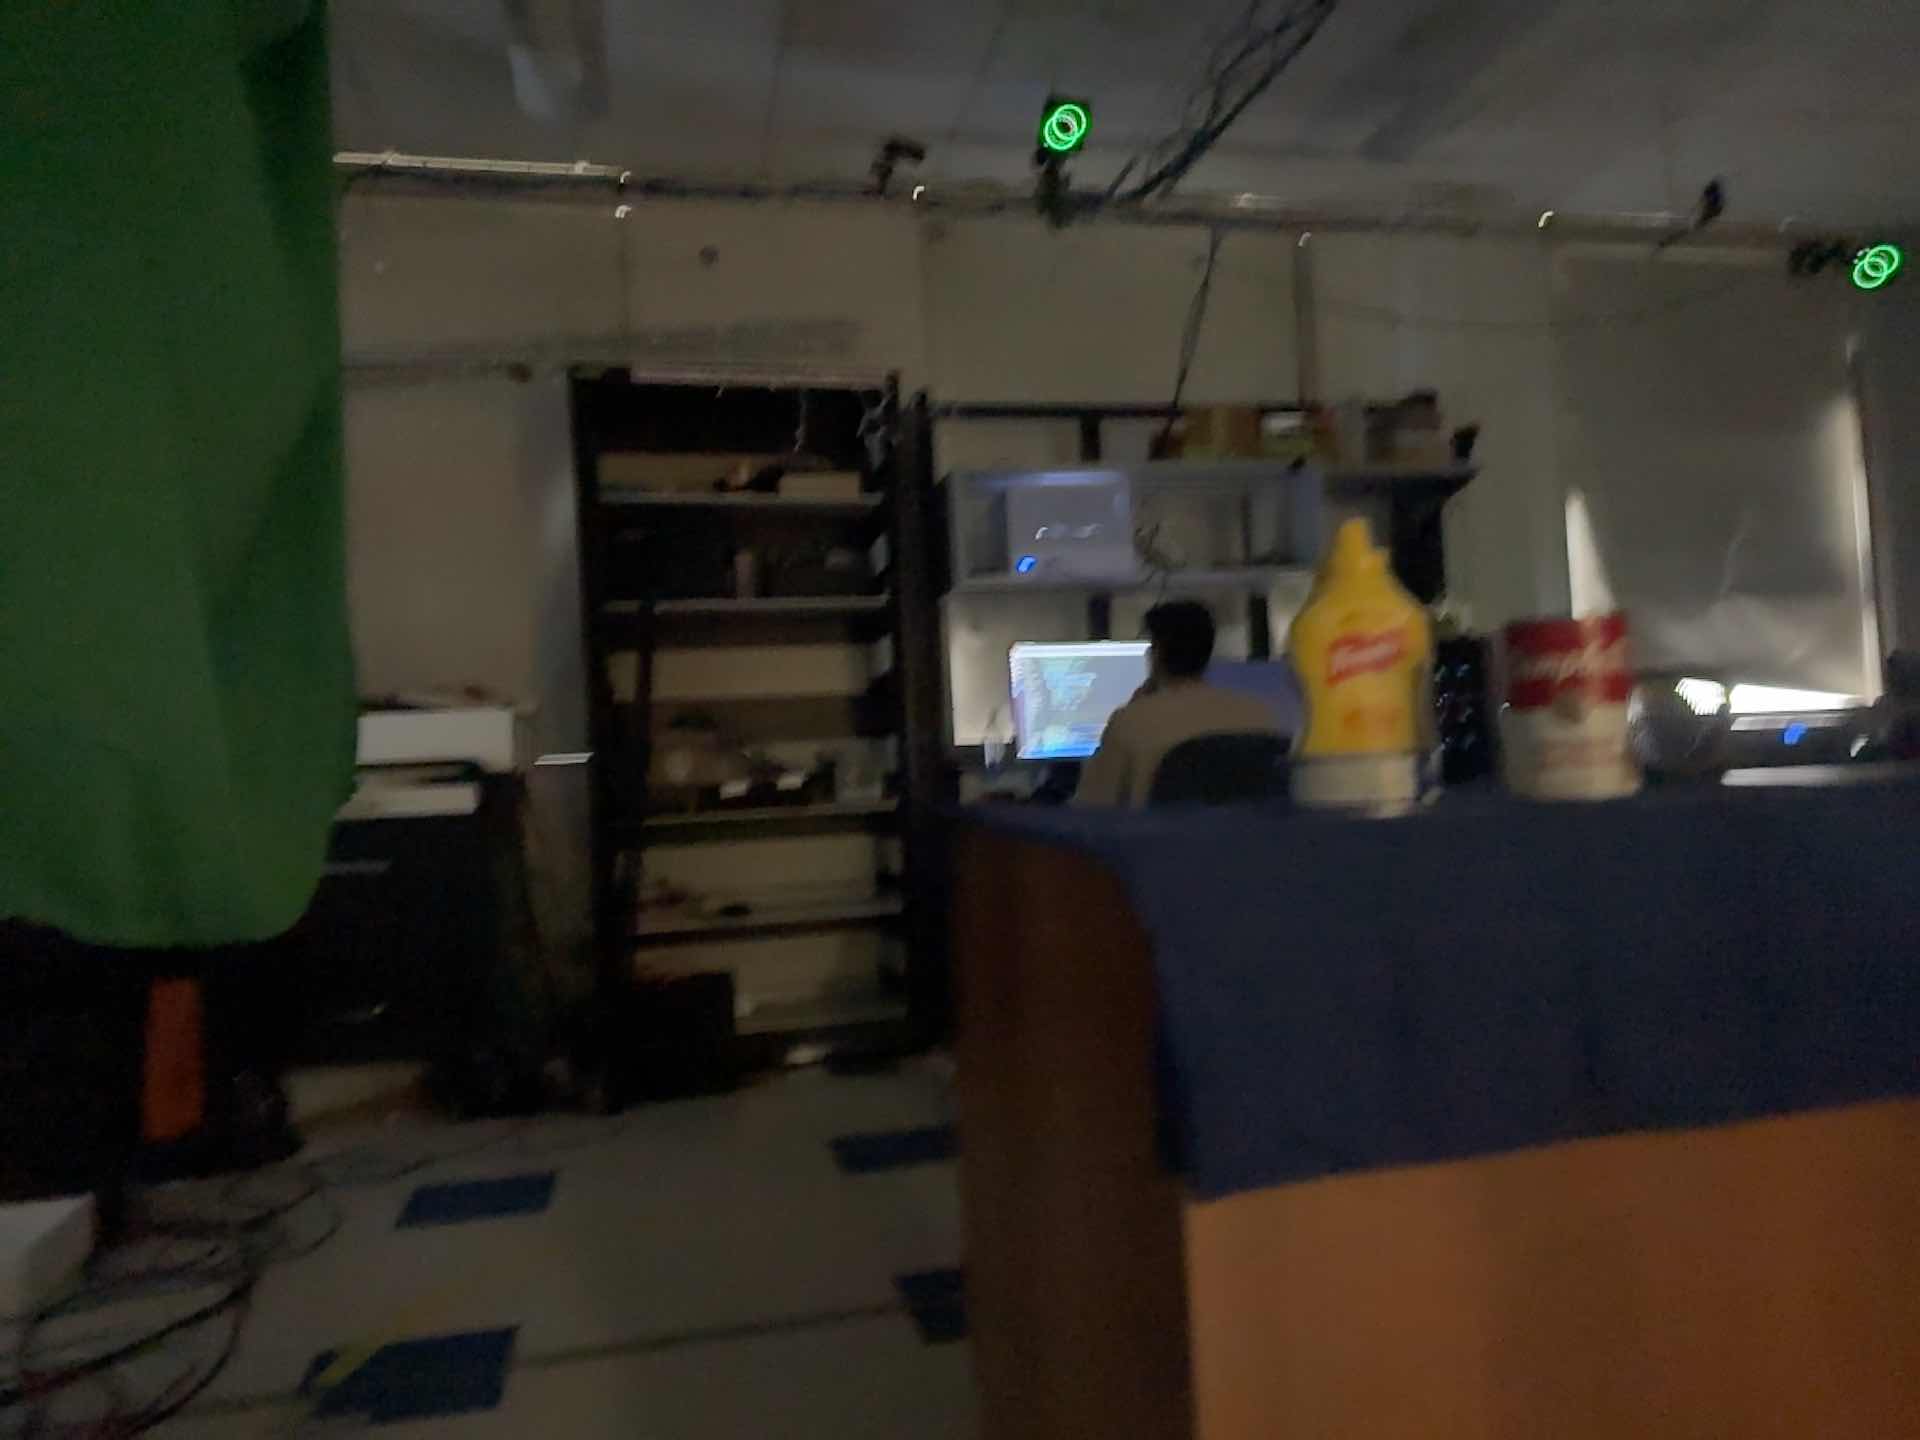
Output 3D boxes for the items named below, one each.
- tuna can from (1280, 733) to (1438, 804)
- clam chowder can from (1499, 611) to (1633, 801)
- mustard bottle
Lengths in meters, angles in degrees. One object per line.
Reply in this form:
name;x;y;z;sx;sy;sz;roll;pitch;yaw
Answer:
tuna can;0.221;0.026;0.749;0.083;0.034;0.083;-2;1;0
clam chowder can;0.340;-0.008;0.754;0.068;0.102;0.068;-2;1;0
mustard bottle;0.252;-0.030;0.838;0.092;0.184;0.054;-2;2;3
